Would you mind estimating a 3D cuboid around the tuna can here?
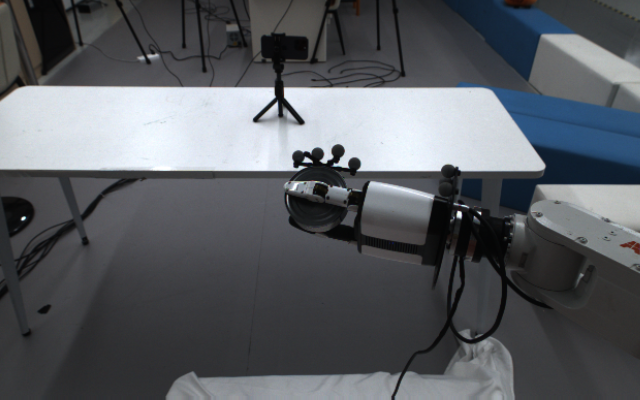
[{"bbox_3d":[-0.003,-0.002,0.651,0.085,0.034,0.085,-3,69,7],"label":"tuna can"}]
